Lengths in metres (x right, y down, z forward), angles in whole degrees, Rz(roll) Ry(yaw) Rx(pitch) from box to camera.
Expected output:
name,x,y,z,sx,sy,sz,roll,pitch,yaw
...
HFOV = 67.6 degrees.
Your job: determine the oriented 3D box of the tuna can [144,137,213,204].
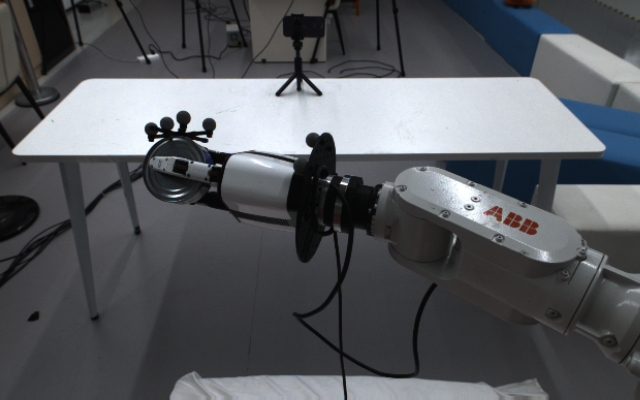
name,x,y,z,sx,sy,sz,roll,pitch,yaw
tuna can,-0.178,-0.035,0.623,0.085,0.085,0.034,10,-6,11
